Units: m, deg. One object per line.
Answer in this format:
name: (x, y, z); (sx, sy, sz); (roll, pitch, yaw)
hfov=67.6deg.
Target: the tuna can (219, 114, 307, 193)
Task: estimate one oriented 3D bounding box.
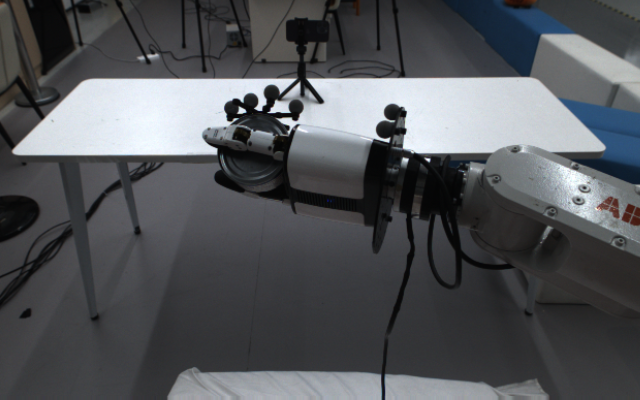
tuna can: (-0.070, -0.053, 0.558); (0.085, 0.034, 0.085); (-3, 73, 10)
